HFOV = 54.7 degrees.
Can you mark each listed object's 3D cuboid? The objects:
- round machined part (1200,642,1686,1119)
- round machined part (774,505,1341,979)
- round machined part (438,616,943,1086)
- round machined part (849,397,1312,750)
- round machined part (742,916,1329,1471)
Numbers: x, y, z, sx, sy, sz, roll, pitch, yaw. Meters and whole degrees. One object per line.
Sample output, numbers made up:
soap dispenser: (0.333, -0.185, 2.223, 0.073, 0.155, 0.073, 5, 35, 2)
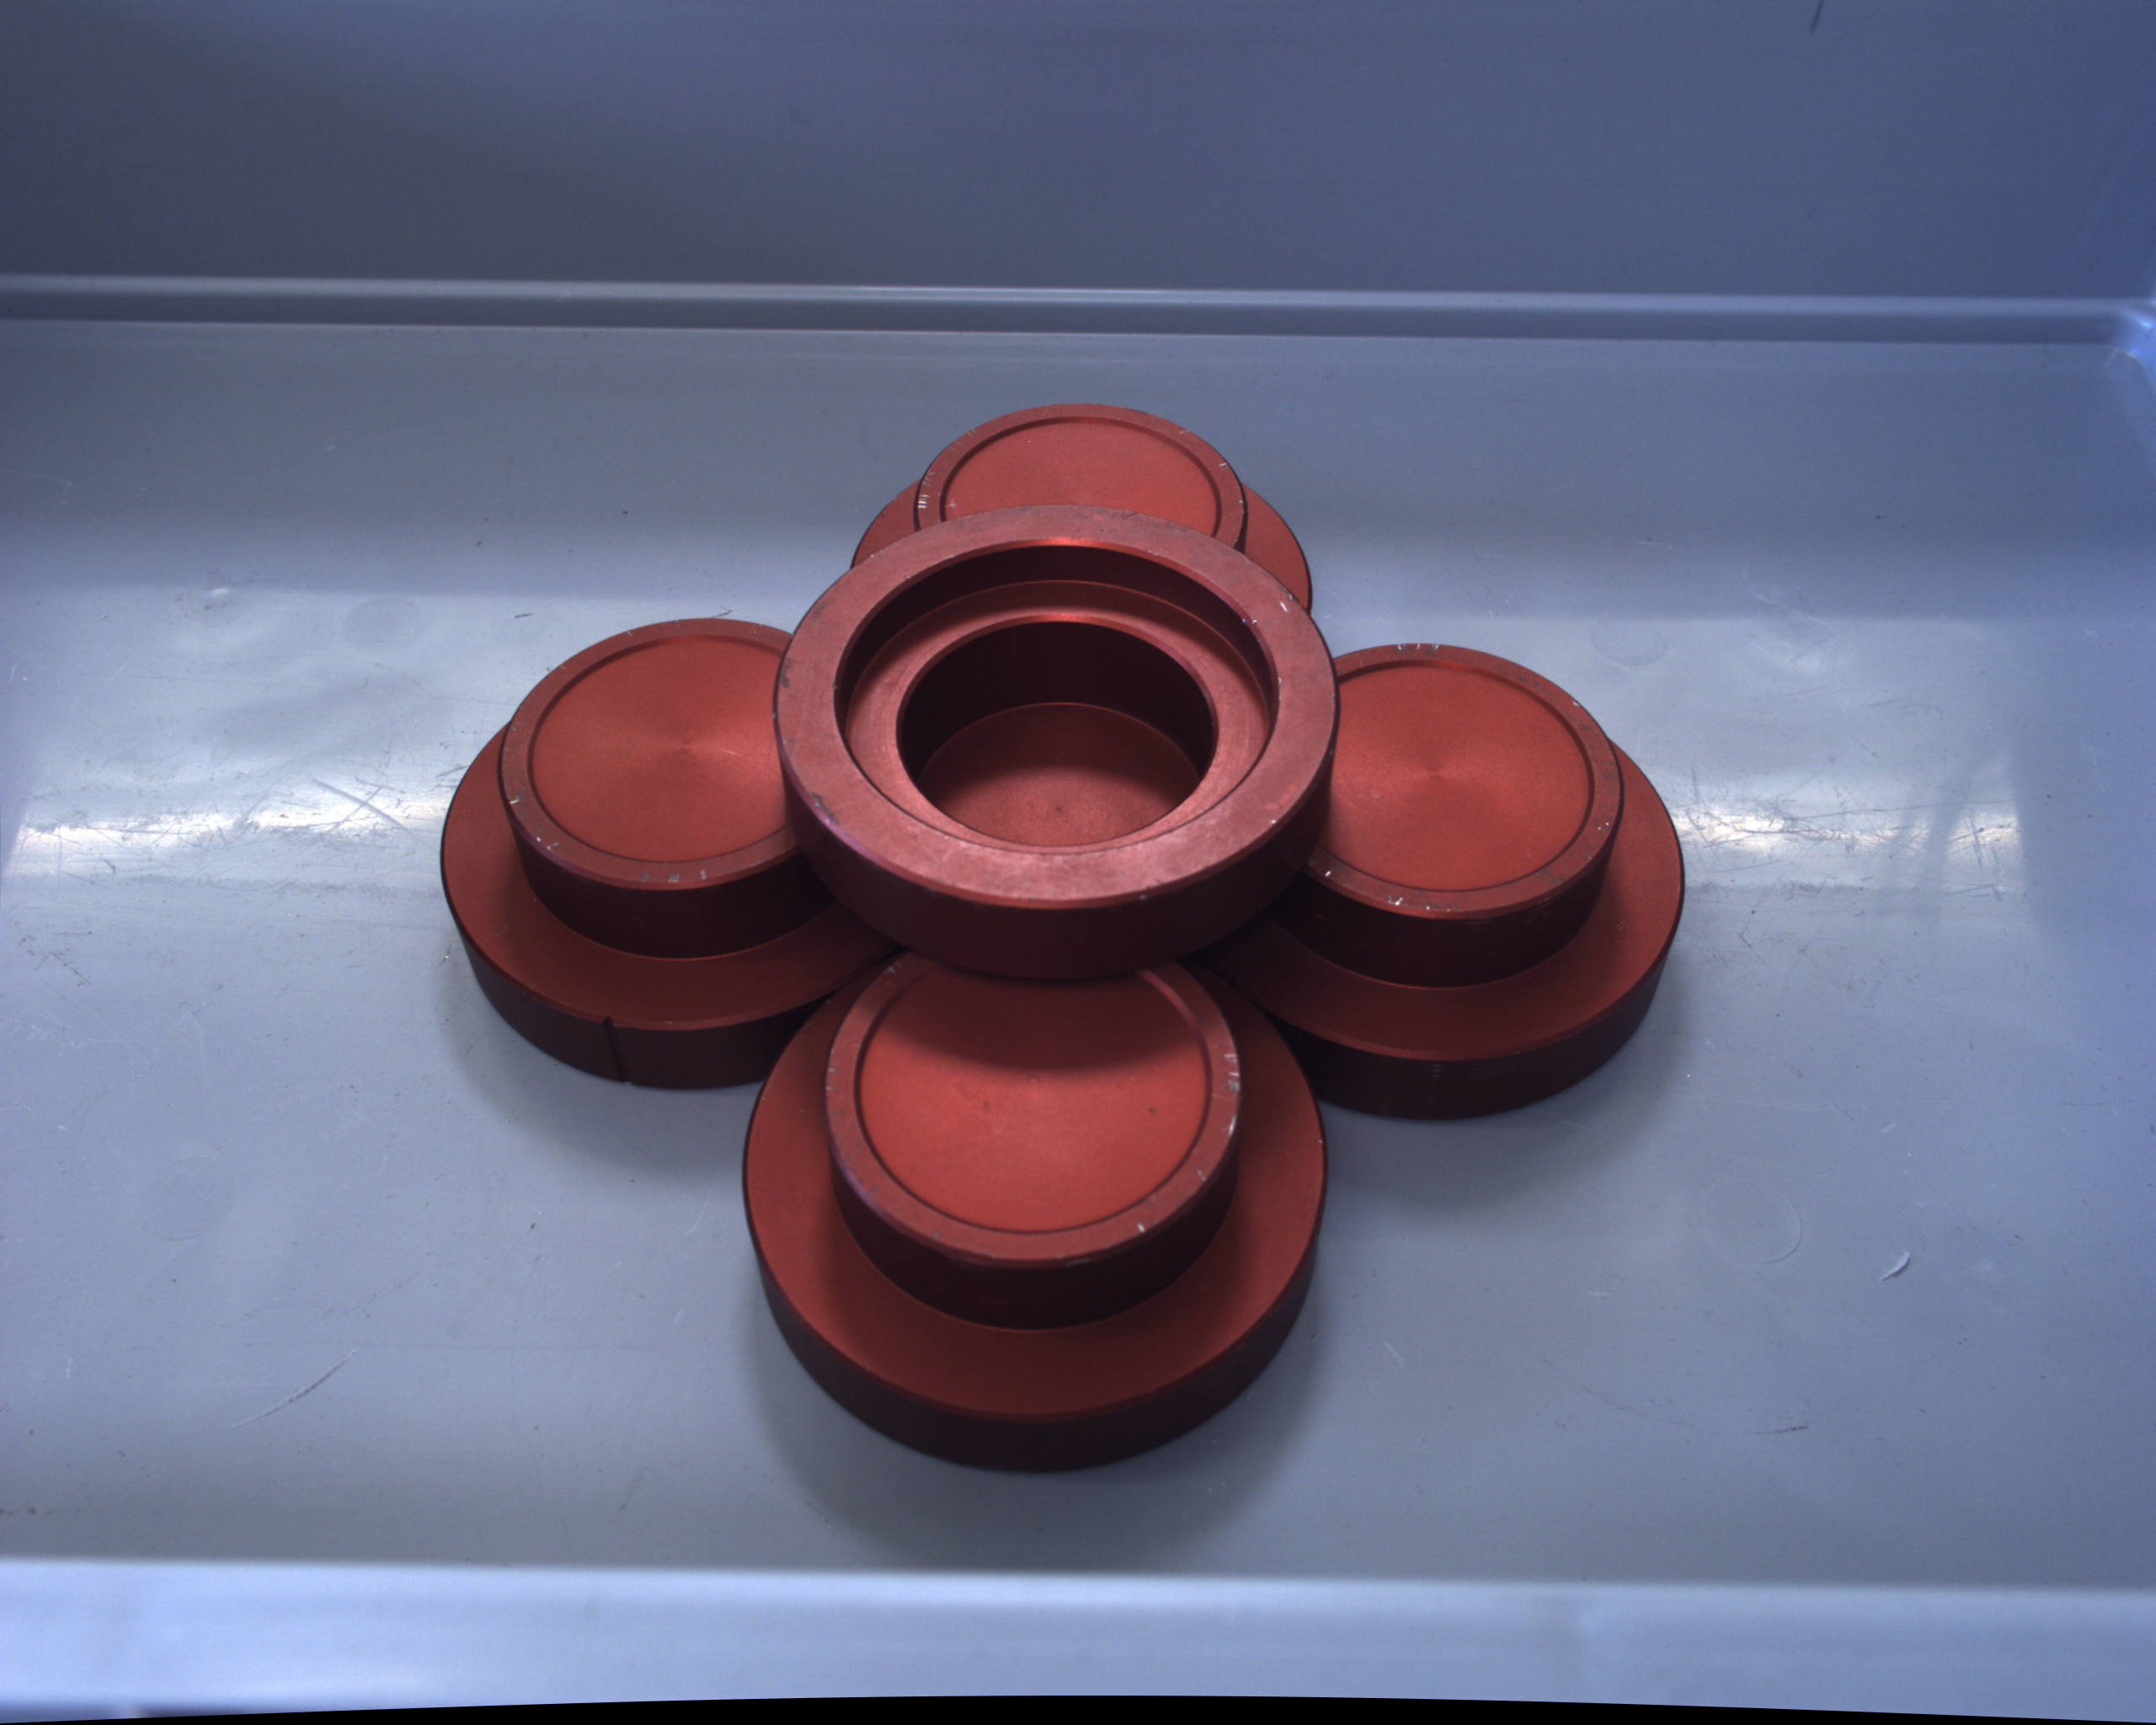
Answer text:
round machined part: (0.065, -0.004, 0.394, 0.099, 0.042, 0.098, 0, 50, 0)
round machined part: (-0.003, -0.017, 0.379, 0.099, 0.042, 0.098, 0, 50, 0)
round machined part: (-0.072, -0.009, 0.398, 0.099, 0.042, 0.098, 0, 50, 0)
round machined part: (0.000, -0.061, 0.441, 0.099, 0.042, 0.098, 0, 50, 0)
round machined part: (-0.007, 0.048, 0.351, 0.099, 0.042, 0.098, 1, 48, -1)
